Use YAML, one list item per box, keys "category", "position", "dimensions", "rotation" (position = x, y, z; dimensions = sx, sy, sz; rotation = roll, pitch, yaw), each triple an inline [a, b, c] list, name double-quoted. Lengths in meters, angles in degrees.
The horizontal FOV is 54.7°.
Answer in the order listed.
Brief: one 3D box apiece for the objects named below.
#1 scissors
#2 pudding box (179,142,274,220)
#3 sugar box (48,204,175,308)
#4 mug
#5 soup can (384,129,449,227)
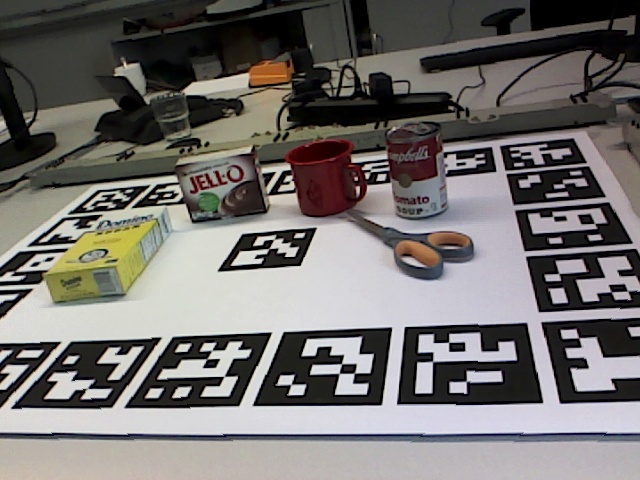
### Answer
- category: "scissors"
  position: [0.085, 0.003, 0.701]
  dimensions: [0.087, 0.016, 0.204]
  rotation: [-33, 34, -16]
- category: "pudding box"
  position: [-0.128, -0.082, 0.863]
  dimensions: [0.114, 0.089, 0.039]
  rotation: [-8, 35, 7]
- category: "sugar box"
  position: [-0.263, 0.016, 0.803]
  dimensions: [0.093, 0.045, 0.176]
  rotation: [-7, 30, 14]
- category: "mug"
  position: [0.017, -0.086, 0.826]
  dimensions: [0.093, 0.081, 0.118]
  rotation: [-24, 29, -15]
- category: "soup can"
  position: [0.120, -0.076, 0.759]
  dimensions: [0.068, 0.101, 0.068]
  rotation: [-11, 27, 5]
